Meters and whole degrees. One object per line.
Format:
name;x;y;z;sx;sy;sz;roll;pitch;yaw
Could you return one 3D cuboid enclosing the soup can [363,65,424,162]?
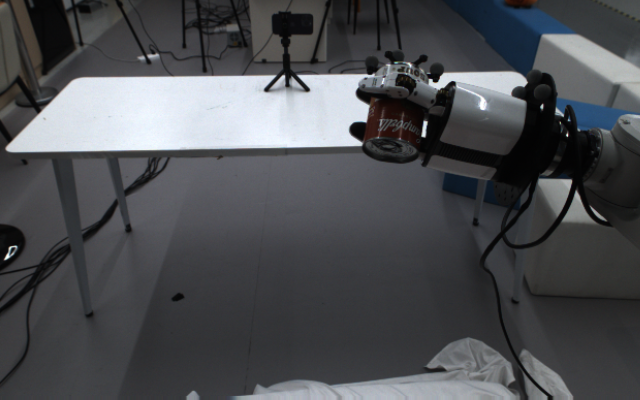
soup can;0.092;-0.103;0.575;0.067;0.067;0.101;8;72;9
